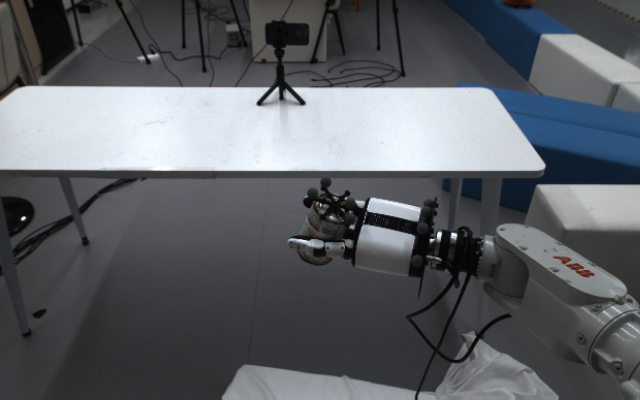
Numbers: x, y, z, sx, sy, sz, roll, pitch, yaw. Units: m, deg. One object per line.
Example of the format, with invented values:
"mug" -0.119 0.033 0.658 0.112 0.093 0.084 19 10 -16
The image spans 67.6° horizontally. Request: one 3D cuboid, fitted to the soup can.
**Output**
"soup can" 0.006 0.048 0.773 0.067 0.101 0.067 14 39 -12
